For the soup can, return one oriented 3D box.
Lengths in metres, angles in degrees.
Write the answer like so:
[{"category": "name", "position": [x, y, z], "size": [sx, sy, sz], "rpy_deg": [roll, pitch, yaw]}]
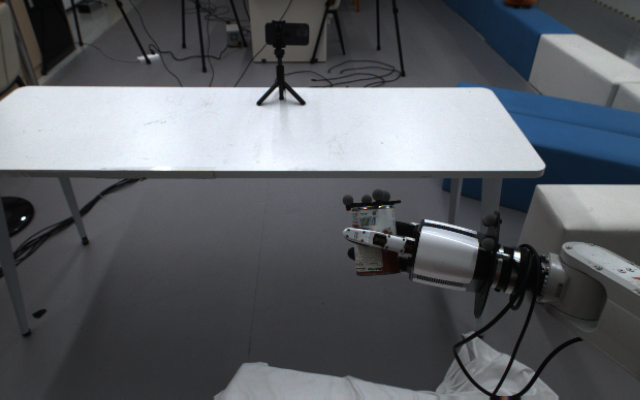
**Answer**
[{"category": "soup can", "position": [0.086, 0.062, 0.738], "size": [0.067, 0.101, 0.067], "rpy_deg": [-5, -5, 0]}]
